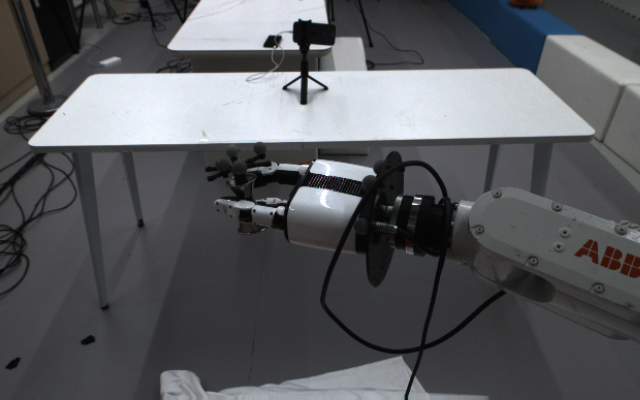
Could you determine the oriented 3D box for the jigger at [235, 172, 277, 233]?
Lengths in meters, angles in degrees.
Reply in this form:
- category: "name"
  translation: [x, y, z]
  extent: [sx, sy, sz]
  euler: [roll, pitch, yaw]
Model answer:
- category: "jigger"
  translation: [-0.090, 0.003, 0.625]
  extent: [0.043, 0.071, 0.043]
  euler: [-10, 24, 5]
